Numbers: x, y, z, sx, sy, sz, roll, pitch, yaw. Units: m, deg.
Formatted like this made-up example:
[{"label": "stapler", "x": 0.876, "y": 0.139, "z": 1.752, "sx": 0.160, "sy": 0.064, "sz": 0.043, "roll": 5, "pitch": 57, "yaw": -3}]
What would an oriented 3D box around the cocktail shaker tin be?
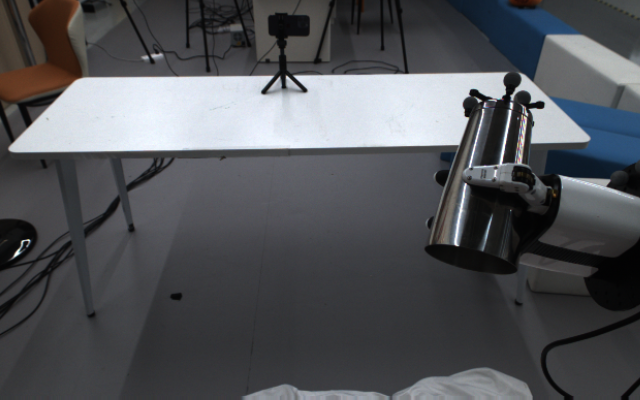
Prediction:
[{"label": "cocktail shaker tin", "x": 0.178, "y": -0.017, "z": 0.514, "sx": 0.093, "sy": 0.093, "sz": 0.170, "roll": 13, "pitch": 74, "yaw": 15}]
